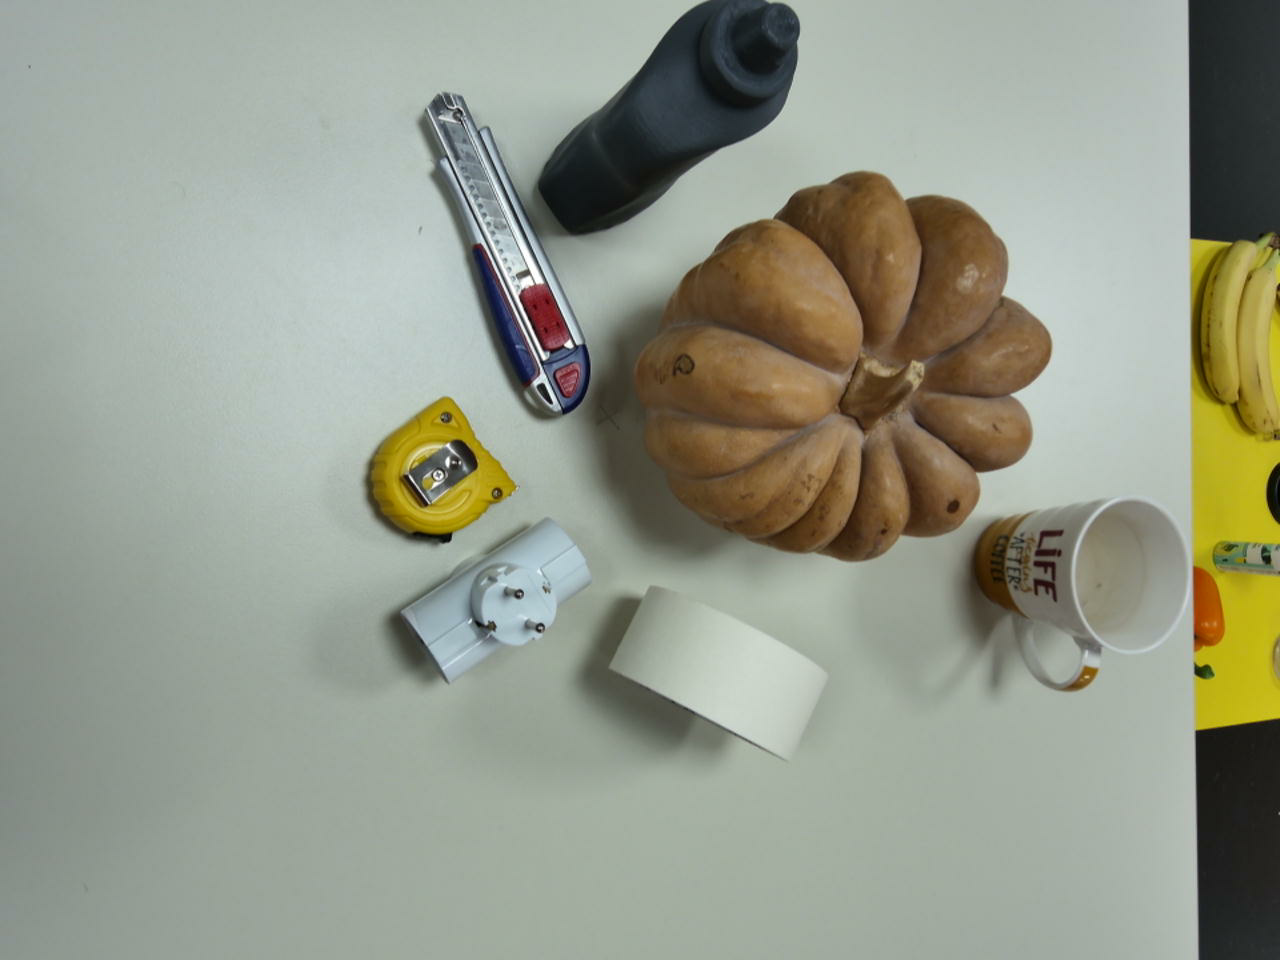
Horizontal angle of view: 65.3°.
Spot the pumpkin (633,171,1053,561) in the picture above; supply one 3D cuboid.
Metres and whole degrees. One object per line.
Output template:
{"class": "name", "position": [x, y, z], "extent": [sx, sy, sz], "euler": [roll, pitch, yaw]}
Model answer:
{"class": "pumpkin", "position": [0.095, -0.053, 0.514], "extent": [0.198, 0.177, 0.198], "euler": [0, 91, -22]}
